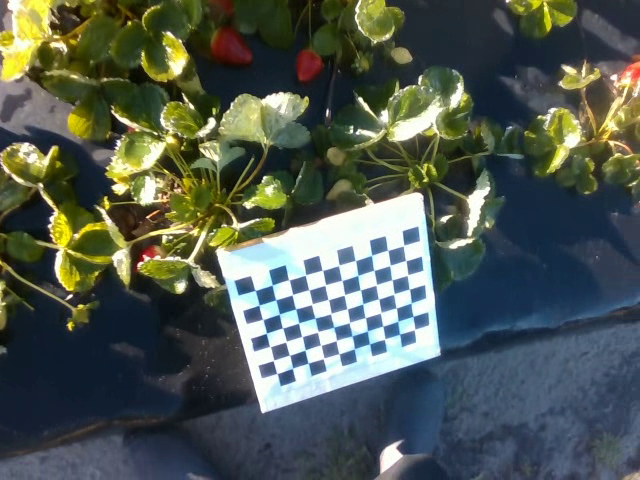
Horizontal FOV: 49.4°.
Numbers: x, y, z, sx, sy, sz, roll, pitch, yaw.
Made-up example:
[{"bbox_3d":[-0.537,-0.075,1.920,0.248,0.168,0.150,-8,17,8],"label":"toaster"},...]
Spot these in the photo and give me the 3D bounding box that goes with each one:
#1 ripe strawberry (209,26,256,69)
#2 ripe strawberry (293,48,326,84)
[{"bbox_3d":[-0.106,-0.234,0.834,0.056,0.044,0.040,33,6,-25],"label":"ripe strawberry"},{"bbox_3d":[-0.016,-0.216,0.855,0.039,0.047,0.040,22,0,-24],"label":"ripe strawberry"}]
